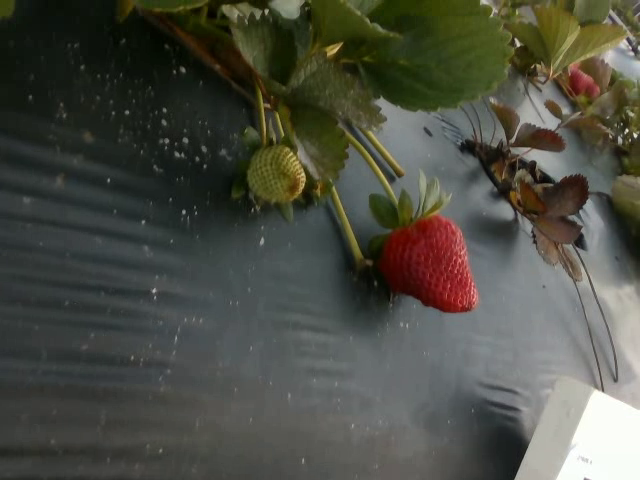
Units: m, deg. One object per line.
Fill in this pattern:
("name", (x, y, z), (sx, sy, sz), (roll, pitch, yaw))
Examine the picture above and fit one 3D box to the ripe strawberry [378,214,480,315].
("ripe strawberry", (0.051, 0.013, 0.265), (0.045, 0.042, 0.055), (-26, 47, -18))
